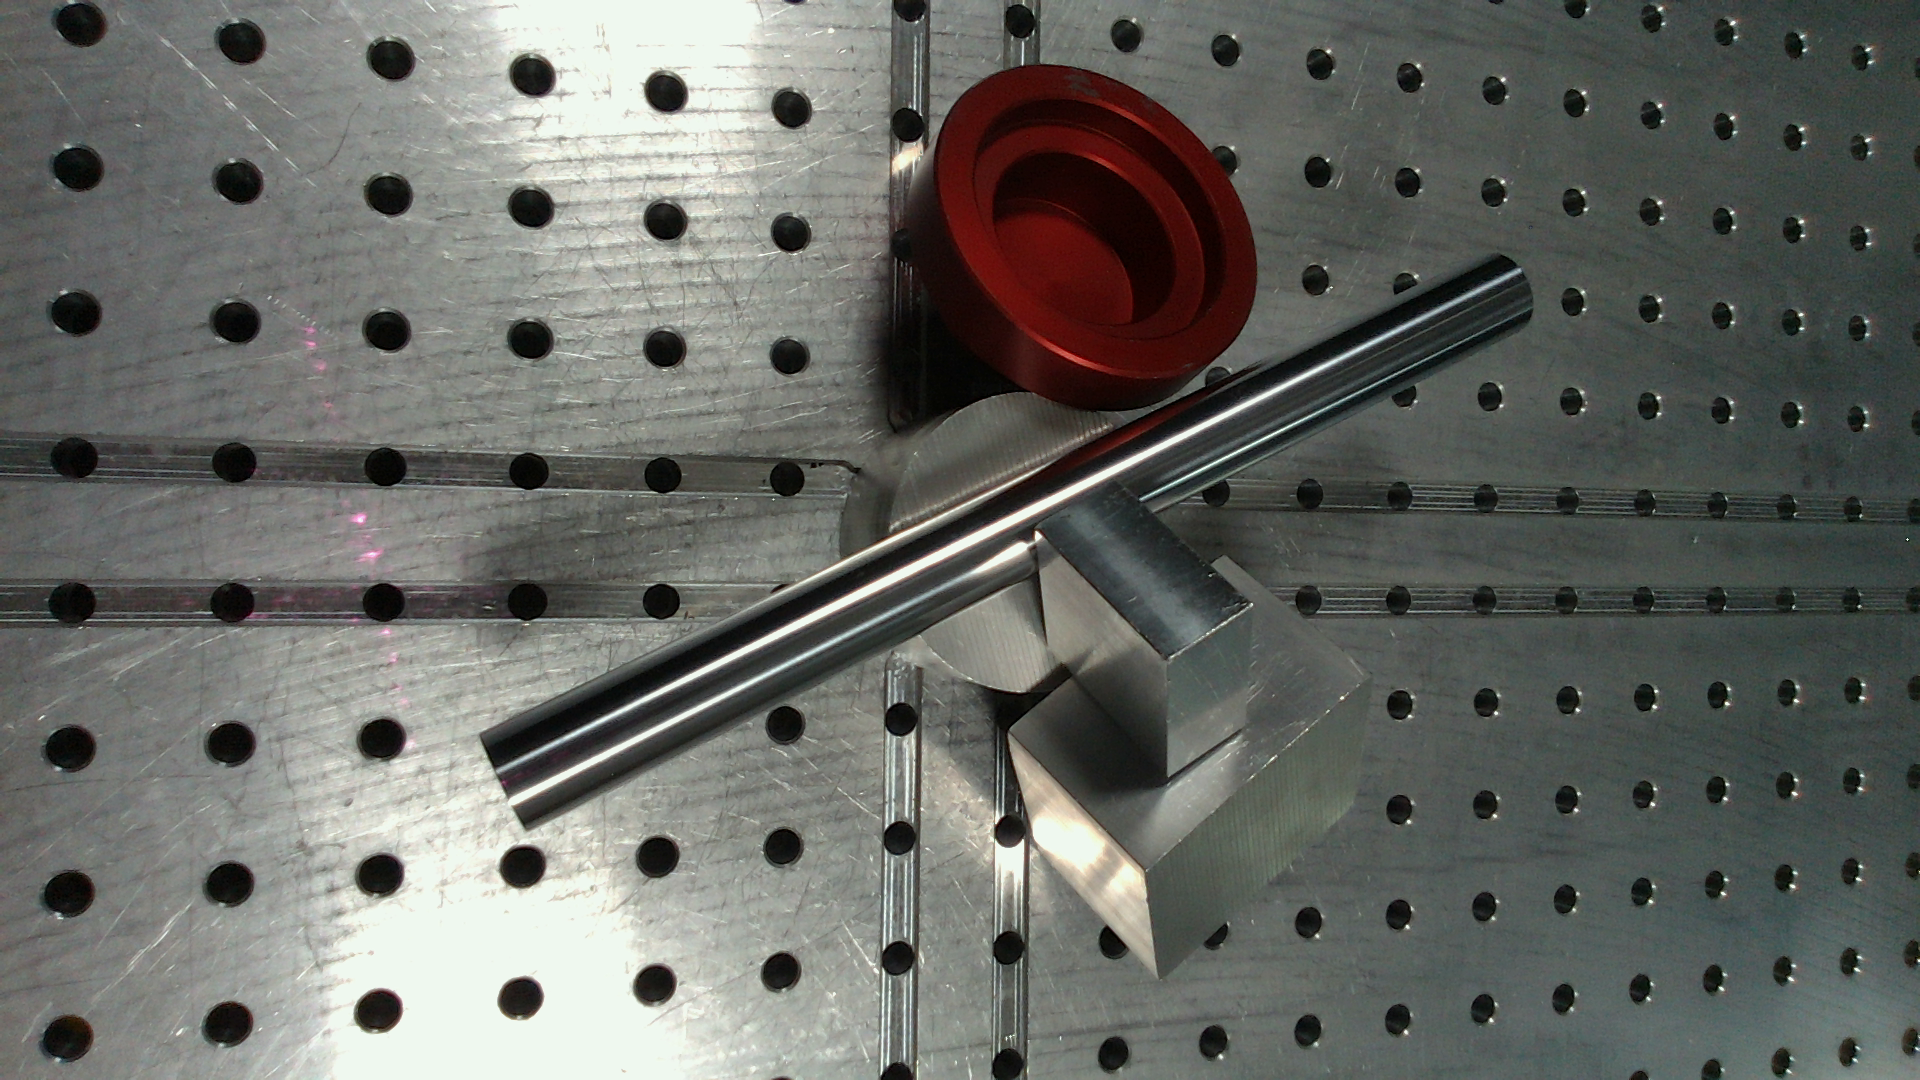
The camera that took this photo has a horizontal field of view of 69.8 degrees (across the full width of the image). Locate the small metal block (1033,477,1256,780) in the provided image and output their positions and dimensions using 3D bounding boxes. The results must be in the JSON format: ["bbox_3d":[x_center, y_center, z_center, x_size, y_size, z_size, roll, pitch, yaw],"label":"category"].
[{"bbox_3d":[0.044,0.022,0.334,0.025,0.050,0.050,-31,142,-17],"label":"small metal block"}]

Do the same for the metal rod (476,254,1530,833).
[{"bbox_3d":[0.027,-0.009,0.352,0.301,0.025,0.025,-26,99,-18],"label":"metal rod"}]

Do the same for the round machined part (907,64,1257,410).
[{"bbox_3d":[0.030,-0.080,0.385,0.098,0.042,0.098,10,64,-22],"label":"round machined part"}]

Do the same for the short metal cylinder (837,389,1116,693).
[{"bbox_3d":[0.011,0.000,0.386,0.080,0.050,0.080,0,90,-20],"label":"short metal cylinder"}]

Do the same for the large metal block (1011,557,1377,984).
[{"bbox_3d":[0.066,0.065,0.382,0.080,0.050,0.080,-37,146,-16],"label":"large metal block"}]
